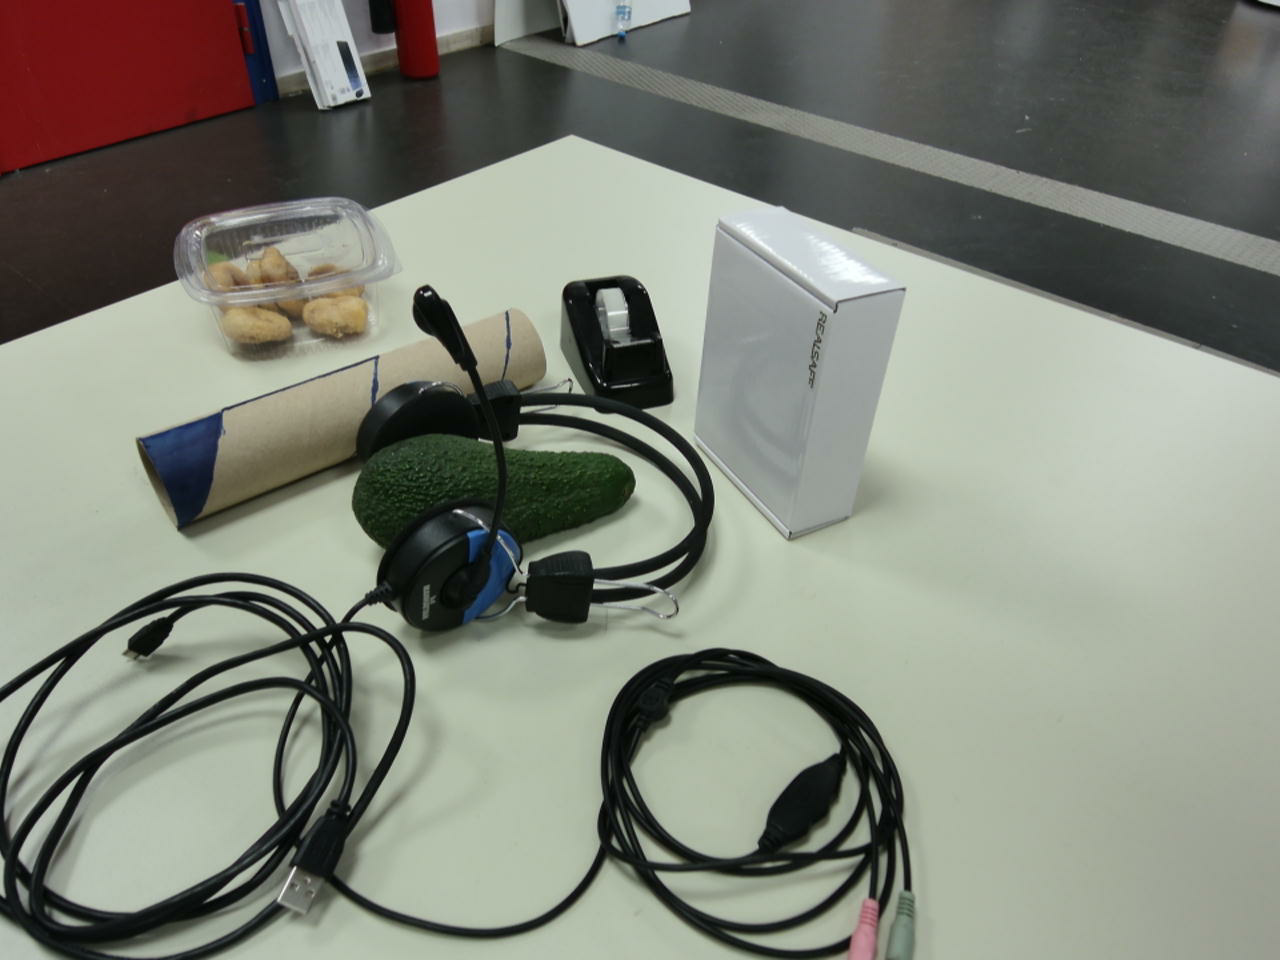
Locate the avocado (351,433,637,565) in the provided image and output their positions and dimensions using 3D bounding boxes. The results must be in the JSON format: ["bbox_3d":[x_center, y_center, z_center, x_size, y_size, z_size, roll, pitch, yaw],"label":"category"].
[{"bbox_3d":[-0.071,-0.002,0.491,0.141,0.067,0.063,-22,43,-28],"label":"avocado"}]
